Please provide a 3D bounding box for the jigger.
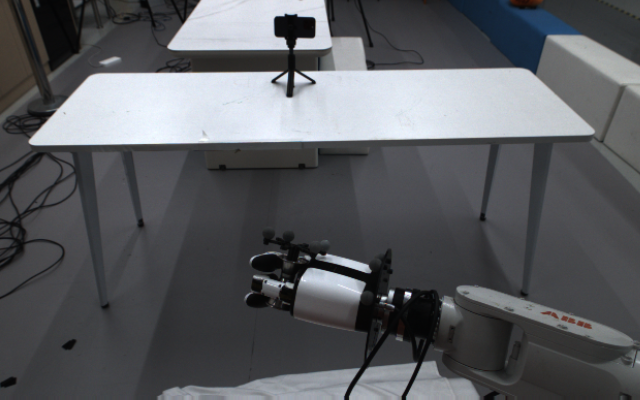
[{"bbox_3d":[-0.043,0.114,0.672,0.043,0.071,0.043,14,1,0],"label":"jigger"}]
